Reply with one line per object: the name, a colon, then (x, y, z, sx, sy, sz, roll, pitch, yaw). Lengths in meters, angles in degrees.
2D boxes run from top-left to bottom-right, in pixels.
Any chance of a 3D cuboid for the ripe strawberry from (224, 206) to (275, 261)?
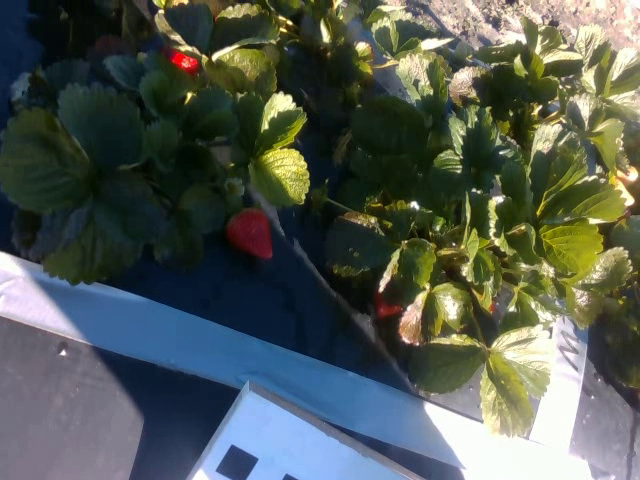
ripe strawberry: (-0.059, -0.004, 0.552, 0.045, 0.059, 0.042, -31, -6, -2)
